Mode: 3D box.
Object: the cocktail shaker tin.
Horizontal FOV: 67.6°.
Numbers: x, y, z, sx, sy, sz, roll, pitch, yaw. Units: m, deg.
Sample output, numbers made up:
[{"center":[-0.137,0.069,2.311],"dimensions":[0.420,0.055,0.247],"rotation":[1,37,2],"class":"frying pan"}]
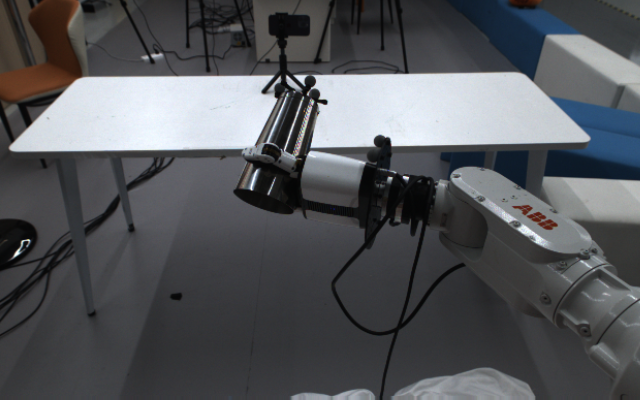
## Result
[{"center":[-0.060,-0.074,0.724],"dimensions":[0.093,0.093,0.170],"rotation":[14,72,16],"class":"cocktail shaker tin"}]
